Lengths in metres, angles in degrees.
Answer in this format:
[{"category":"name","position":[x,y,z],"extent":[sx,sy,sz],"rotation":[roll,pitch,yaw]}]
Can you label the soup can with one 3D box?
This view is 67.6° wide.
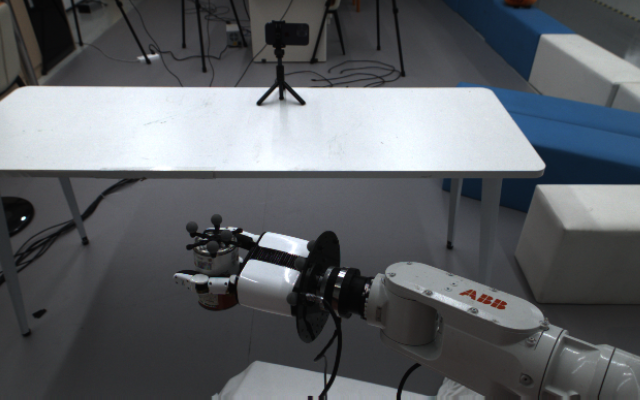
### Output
[{"category":"soup can","position":[-0.155,0.109,0.733],"extent":[0.067,0.101,0.067],"rotation":[1,25,0]}]
